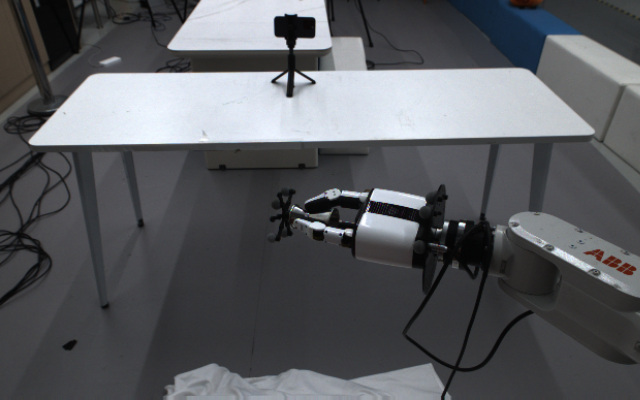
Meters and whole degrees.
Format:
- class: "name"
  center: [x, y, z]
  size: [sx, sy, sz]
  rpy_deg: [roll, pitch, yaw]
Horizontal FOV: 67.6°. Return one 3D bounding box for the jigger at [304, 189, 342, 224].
- class: "jigger"
  center: [-0.004, 0.027, 0.750]
  size: [0.071, 0.043, 0.043]
  rpy_deg: [8, 34, 23]
